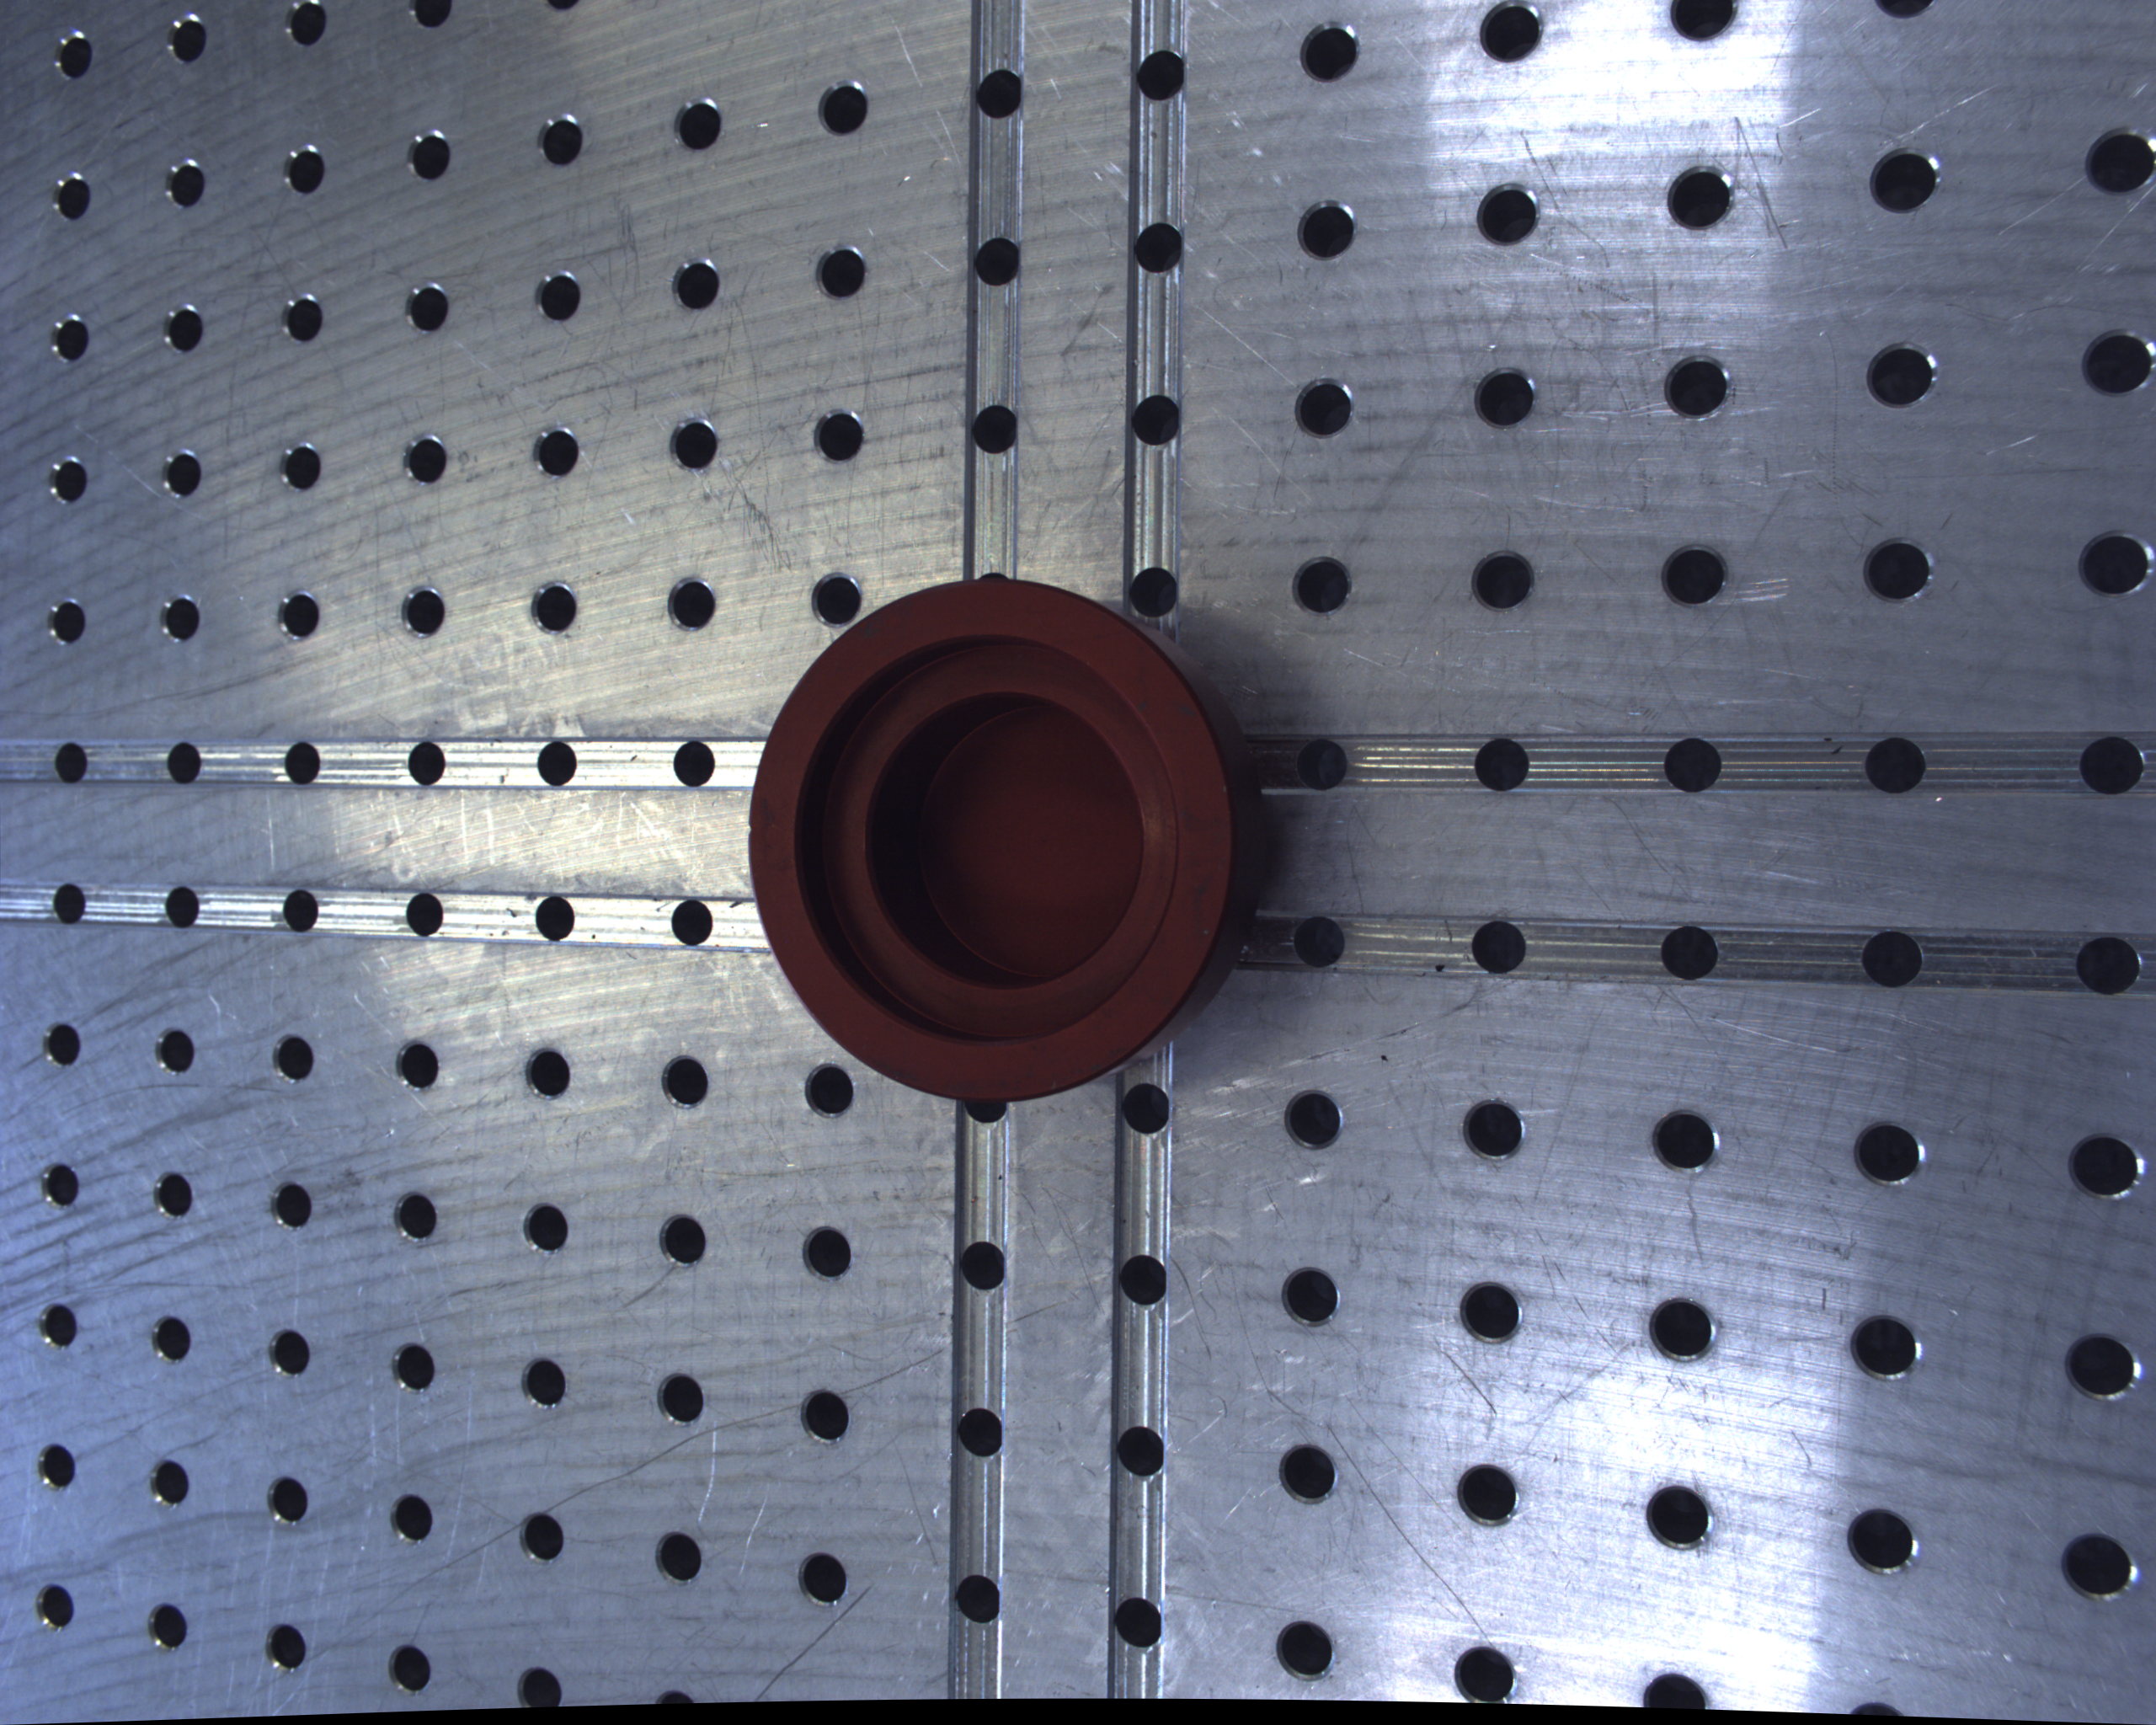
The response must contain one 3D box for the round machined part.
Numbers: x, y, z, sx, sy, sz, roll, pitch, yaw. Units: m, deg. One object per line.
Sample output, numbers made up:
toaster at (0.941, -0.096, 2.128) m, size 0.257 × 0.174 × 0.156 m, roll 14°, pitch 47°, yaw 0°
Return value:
round machined part at (-0.011, -0.004, 0.407) m, size 0.098 × 0.042 × 0.097 m, roll 0°, pitch 90°, yaw 20°
